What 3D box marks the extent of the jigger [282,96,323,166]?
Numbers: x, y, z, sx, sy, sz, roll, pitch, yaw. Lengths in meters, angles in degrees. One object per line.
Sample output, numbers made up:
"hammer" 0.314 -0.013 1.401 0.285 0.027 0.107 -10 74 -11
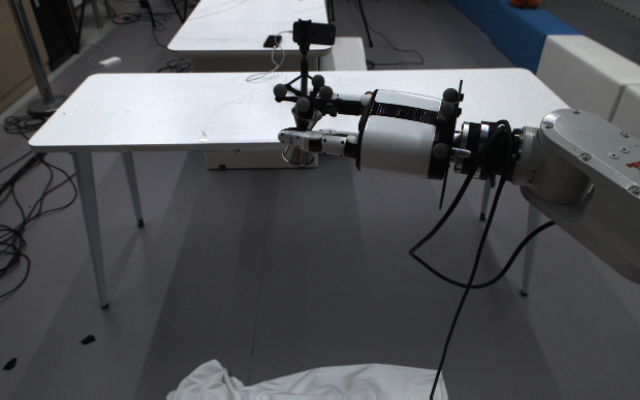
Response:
"jigger" -0.024 -0.085 0.637 0.043 0.071 0.043 10 36 -7
